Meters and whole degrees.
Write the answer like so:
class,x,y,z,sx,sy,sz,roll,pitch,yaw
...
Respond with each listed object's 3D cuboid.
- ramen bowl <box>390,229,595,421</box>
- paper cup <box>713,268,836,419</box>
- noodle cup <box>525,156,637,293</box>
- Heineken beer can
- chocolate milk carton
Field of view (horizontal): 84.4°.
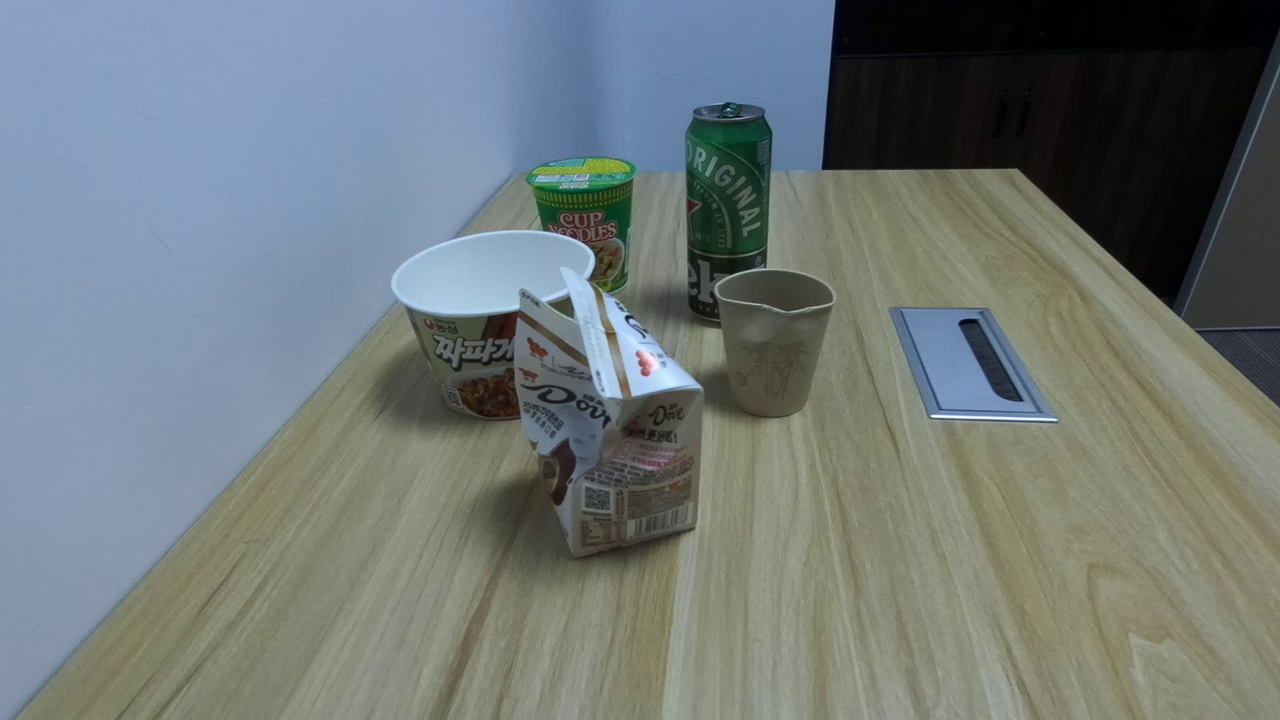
class,x,y,z,sx,sy,sz,roll,pitch,yaw
ramen bowl,-0.099,-0.026,0.517,0.140,0.095,0.140,-2,31,1
paper cup,0.088,-0.011,0.477,0.074,0.081,0.068,-15,33,-21
noodle cup,-0.047,-0.118,0.645,0.097,0.110,0.097,-3,31,2
Heineken beer can,0.072,-0.113,0.571,0.067,0.169,0.067,-2,28,1
chocolate milk carton,-0.018,0.029,0.371,0.077,0.156,0.089,-17,47,-14
